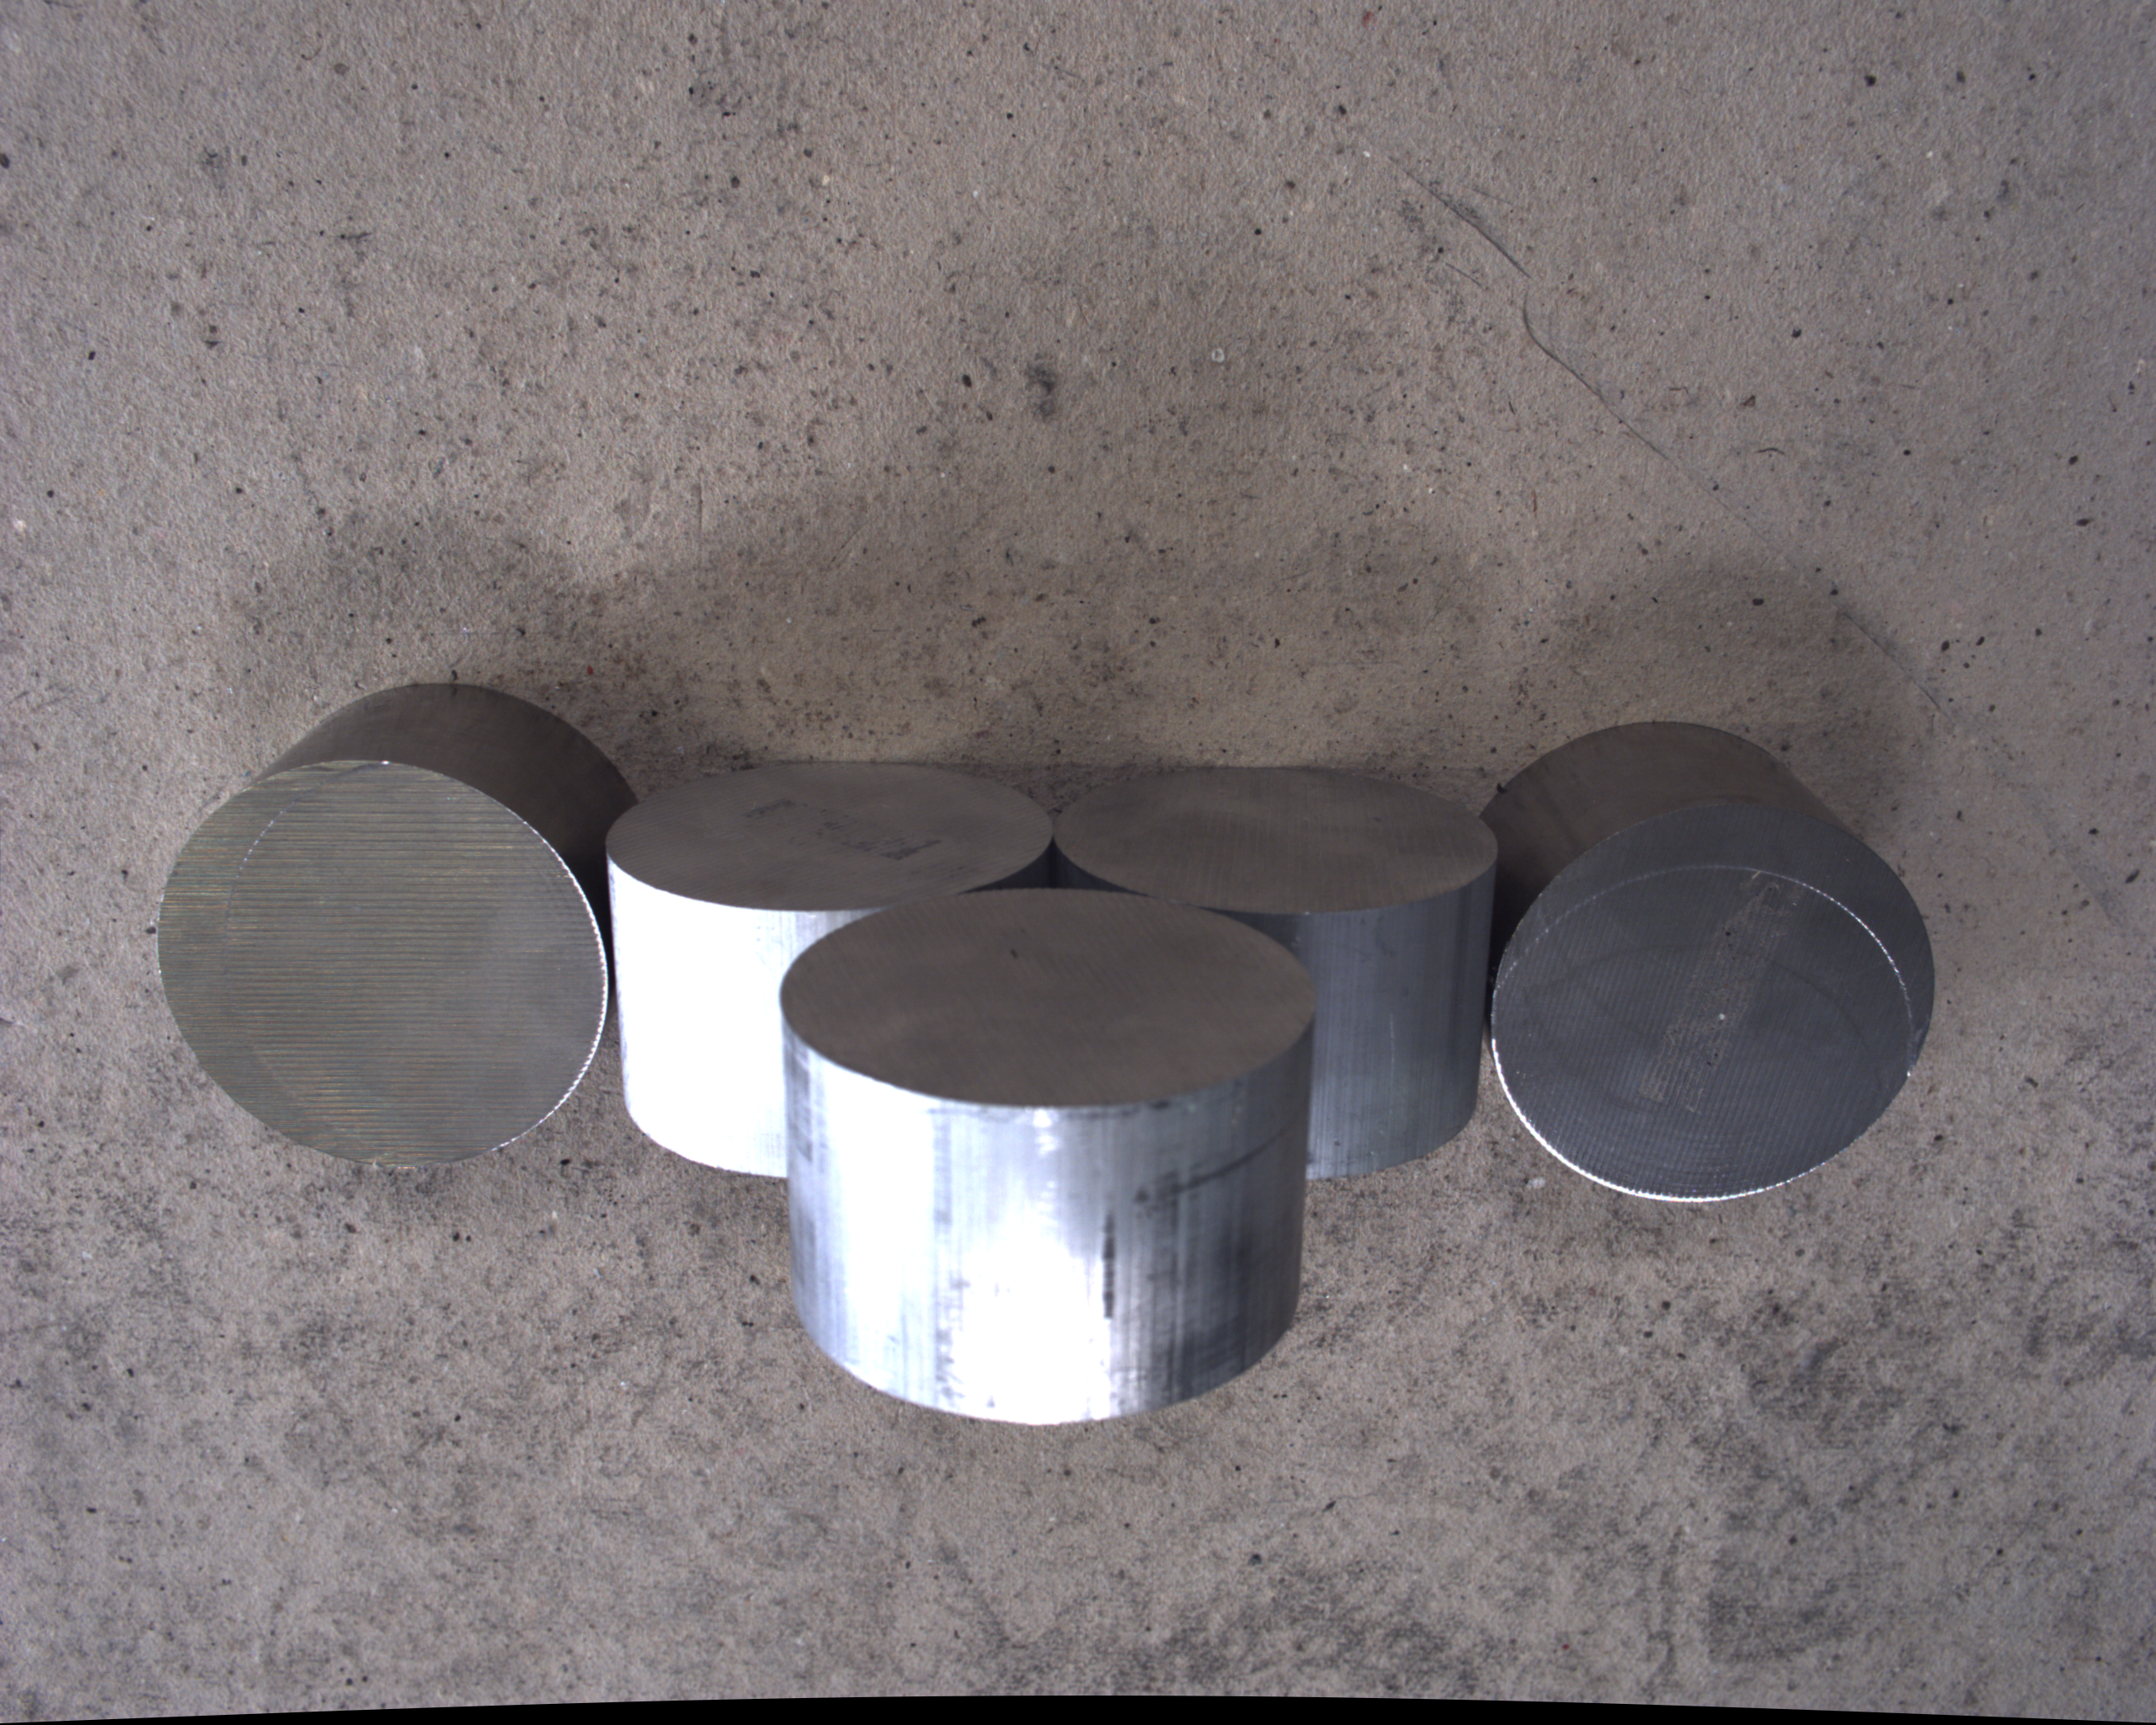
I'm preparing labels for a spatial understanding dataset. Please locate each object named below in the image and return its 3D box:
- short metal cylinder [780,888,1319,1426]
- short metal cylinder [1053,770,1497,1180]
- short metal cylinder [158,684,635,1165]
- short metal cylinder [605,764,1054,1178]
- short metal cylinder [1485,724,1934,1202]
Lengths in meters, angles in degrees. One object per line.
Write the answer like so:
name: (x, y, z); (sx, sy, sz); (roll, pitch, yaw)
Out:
short metal cylinder: (-0.004, 0.042, 0.323); (0.081, 0.080, 0.050); (1, 111, -1)
short metal cylinder: (0.035, 0.018, 0.389); (0.081, 0.080, 0.050); (0, 109, 0)
short metal cylinder: (-0.125, 0.011, 0.400); (0.081, 0.050, 0.079); (0, 110, -1)
short metal cylinder: (-0.045, 0.017, 0.388); (0.081, 0.080, 0.050); (0, 110, 0)
short metal cylinder: (0.116, 0.018, 0.405); (0.081, 0.050, 0.079); (0, 111, -1)
